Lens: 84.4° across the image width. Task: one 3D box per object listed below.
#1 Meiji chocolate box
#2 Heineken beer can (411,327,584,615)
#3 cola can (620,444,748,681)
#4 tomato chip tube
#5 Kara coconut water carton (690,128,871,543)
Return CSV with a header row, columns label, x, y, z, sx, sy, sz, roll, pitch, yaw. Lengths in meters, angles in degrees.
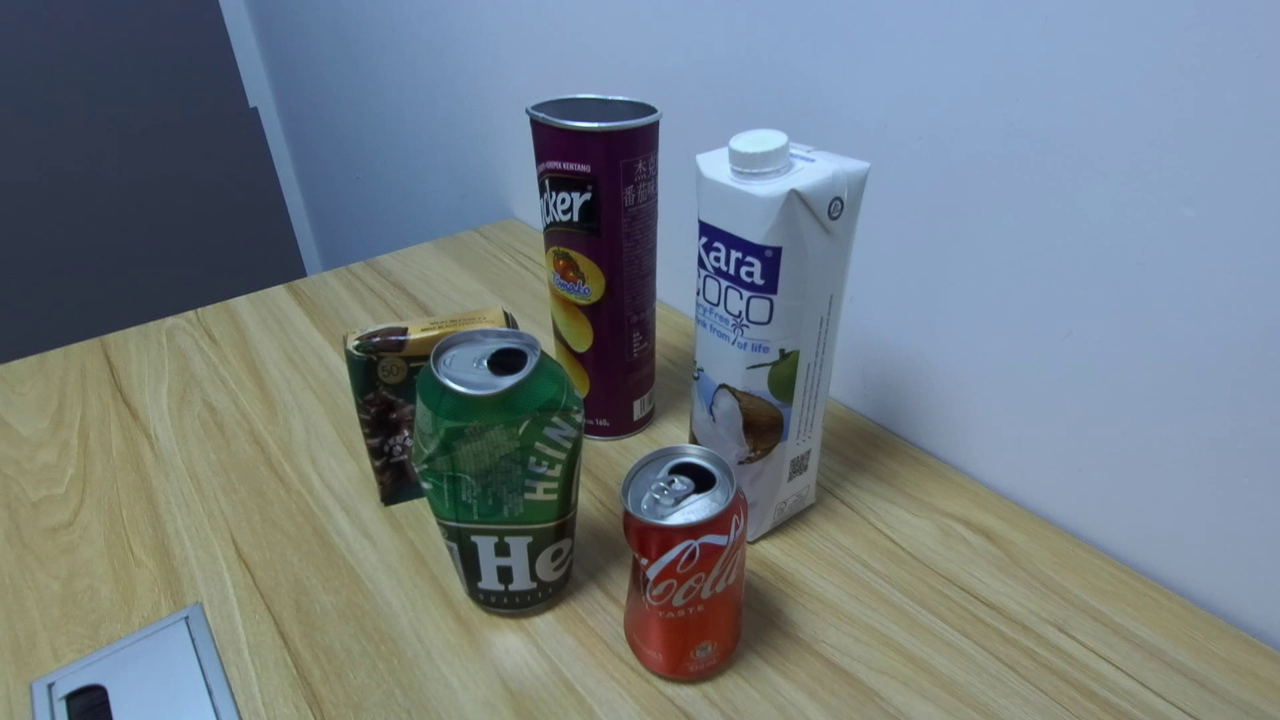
label,x,y,z,sx,sy,sz,roll,pitch,yaw
Meiji chocolate box,-0.133,0.031,0.484,0.113,0.111,0.058,-11,24,-14
Heineken beer can,-0.077,0.064,0.388,0.077,0.164,0.066,25,41,32
cola can,0.024,0.105,0.363,0.065,0.117,0.072,2,34,4
tomato chip tube,-0.026,-0.058,0.502,0.077,0.234,0.080,-14,35,-18
Kara coconut water carton,0.073,-0.011,0.417,0.075,0.245,0.076,-22,37,-30
